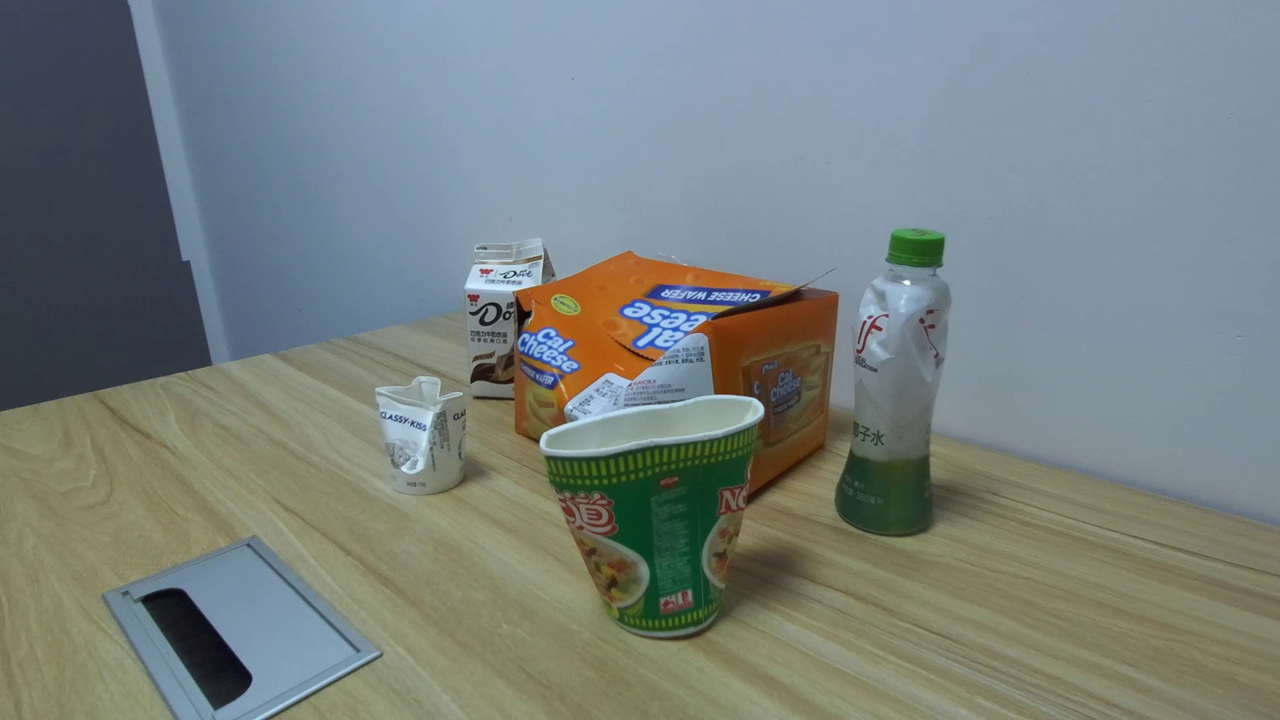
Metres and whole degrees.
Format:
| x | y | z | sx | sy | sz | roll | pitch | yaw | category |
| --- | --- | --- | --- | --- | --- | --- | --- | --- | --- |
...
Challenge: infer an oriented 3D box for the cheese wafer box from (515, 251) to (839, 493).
| x | y | z | sx | sy | sz | roll | pitch | yaw | category |
| --- | --- | --- | --- | --- | --- | --- | --- | --- | --- |
| 0.016 | 0.001 | 0.557 | 0.218 | 0.145 | 0.192 | 14 | 23 | 36 | cheese wafer box |

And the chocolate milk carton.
| x | y | z | sx | sy | sz | roll | pitch | yaw | category |
| --- | --- | --- | --- | --- | --- | --- | --- | --- | --- |
| -0.121 | -0.042 | 0.686 | 0.075 | 0.148 | 0.074 | 3 | 17 | 9 | chocolate milk carton |

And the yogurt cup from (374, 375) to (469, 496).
| x | y | z | sx | sy | sz | roll | pitch | yaw | category |
| --- | --- | --- | --- | --- | --- | --- | --- | --- | --- |
| -0.156 | 0.055 | 0.517 | 0.055 | 0.072 | 0.054 | -14 | 22 | -39 | yogurt cup |

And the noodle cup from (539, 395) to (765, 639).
| x | y | z | sx | sy | sz | roll | pitch | yaw | category |
| --- | --- | --- | --- | --- | --- | --- | --- | --- | --- |
| 0.010 | 0.078 | 0.369 | 0.115 | 0.111 | 0.070 | -2 | 20 | -2 | noodle cup |

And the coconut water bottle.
| x | y | z | sx | sy | sz | roll | pitch | yaw | category |
| --- | --- | --- | --- | --- | --- | --- | --- | --- | --- |
| 0.163 | 0.014 | 0.443 | 0.067 | 0.187 | 0.067 | 1 | 18 | 0 | coconut water bottle |
